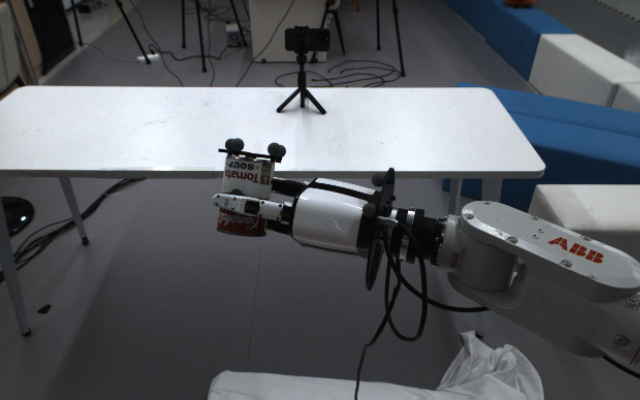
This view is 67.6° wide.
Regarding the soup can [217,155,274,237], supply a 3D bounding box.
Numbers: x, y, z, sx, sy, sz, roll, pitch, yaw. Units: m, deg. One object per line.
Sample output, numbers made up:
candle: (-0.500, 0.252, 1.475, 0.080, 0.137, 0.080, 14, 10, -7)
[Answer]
soup can: (-0.099, -0.005, 0.655, 0.067, 0.101, 0.067, 7, 4, 0)
